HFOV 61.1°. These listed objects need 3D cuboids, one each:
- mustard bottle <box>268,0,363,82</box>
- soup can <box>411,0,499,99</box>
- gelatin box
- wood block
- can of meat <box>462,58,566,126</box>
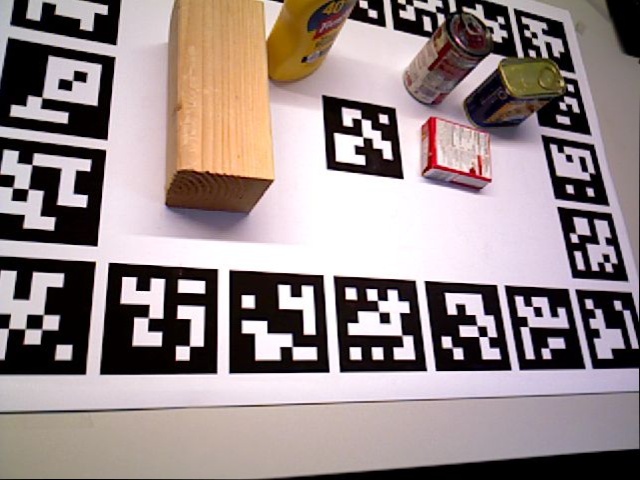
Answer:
[{"bbox_3d":[-0.001,-0.248,0.569,0.094,0.195,0.058,-23,79,-30],"label":"mustard bottle"},{"bbox_3d":[0.166,-0.229,0.667,0.067,0.104,0.067,7,69,-20],"label":"soup can"},{"bbox_3d":[0.178,-0.104,0.673,0.088,0.031,0.072,13,69,-15],"label":"gelatin box"},{"bbox_3d":[-0.101,-0.139,0.543,0.090,0.092,0.204,5,65,-22],"label":"wood block"},{"bbox_3d":[0.250,-0.195,0.709,0.100,0.085,0.057,-10,75,-28],"label":"can of meat"}]
